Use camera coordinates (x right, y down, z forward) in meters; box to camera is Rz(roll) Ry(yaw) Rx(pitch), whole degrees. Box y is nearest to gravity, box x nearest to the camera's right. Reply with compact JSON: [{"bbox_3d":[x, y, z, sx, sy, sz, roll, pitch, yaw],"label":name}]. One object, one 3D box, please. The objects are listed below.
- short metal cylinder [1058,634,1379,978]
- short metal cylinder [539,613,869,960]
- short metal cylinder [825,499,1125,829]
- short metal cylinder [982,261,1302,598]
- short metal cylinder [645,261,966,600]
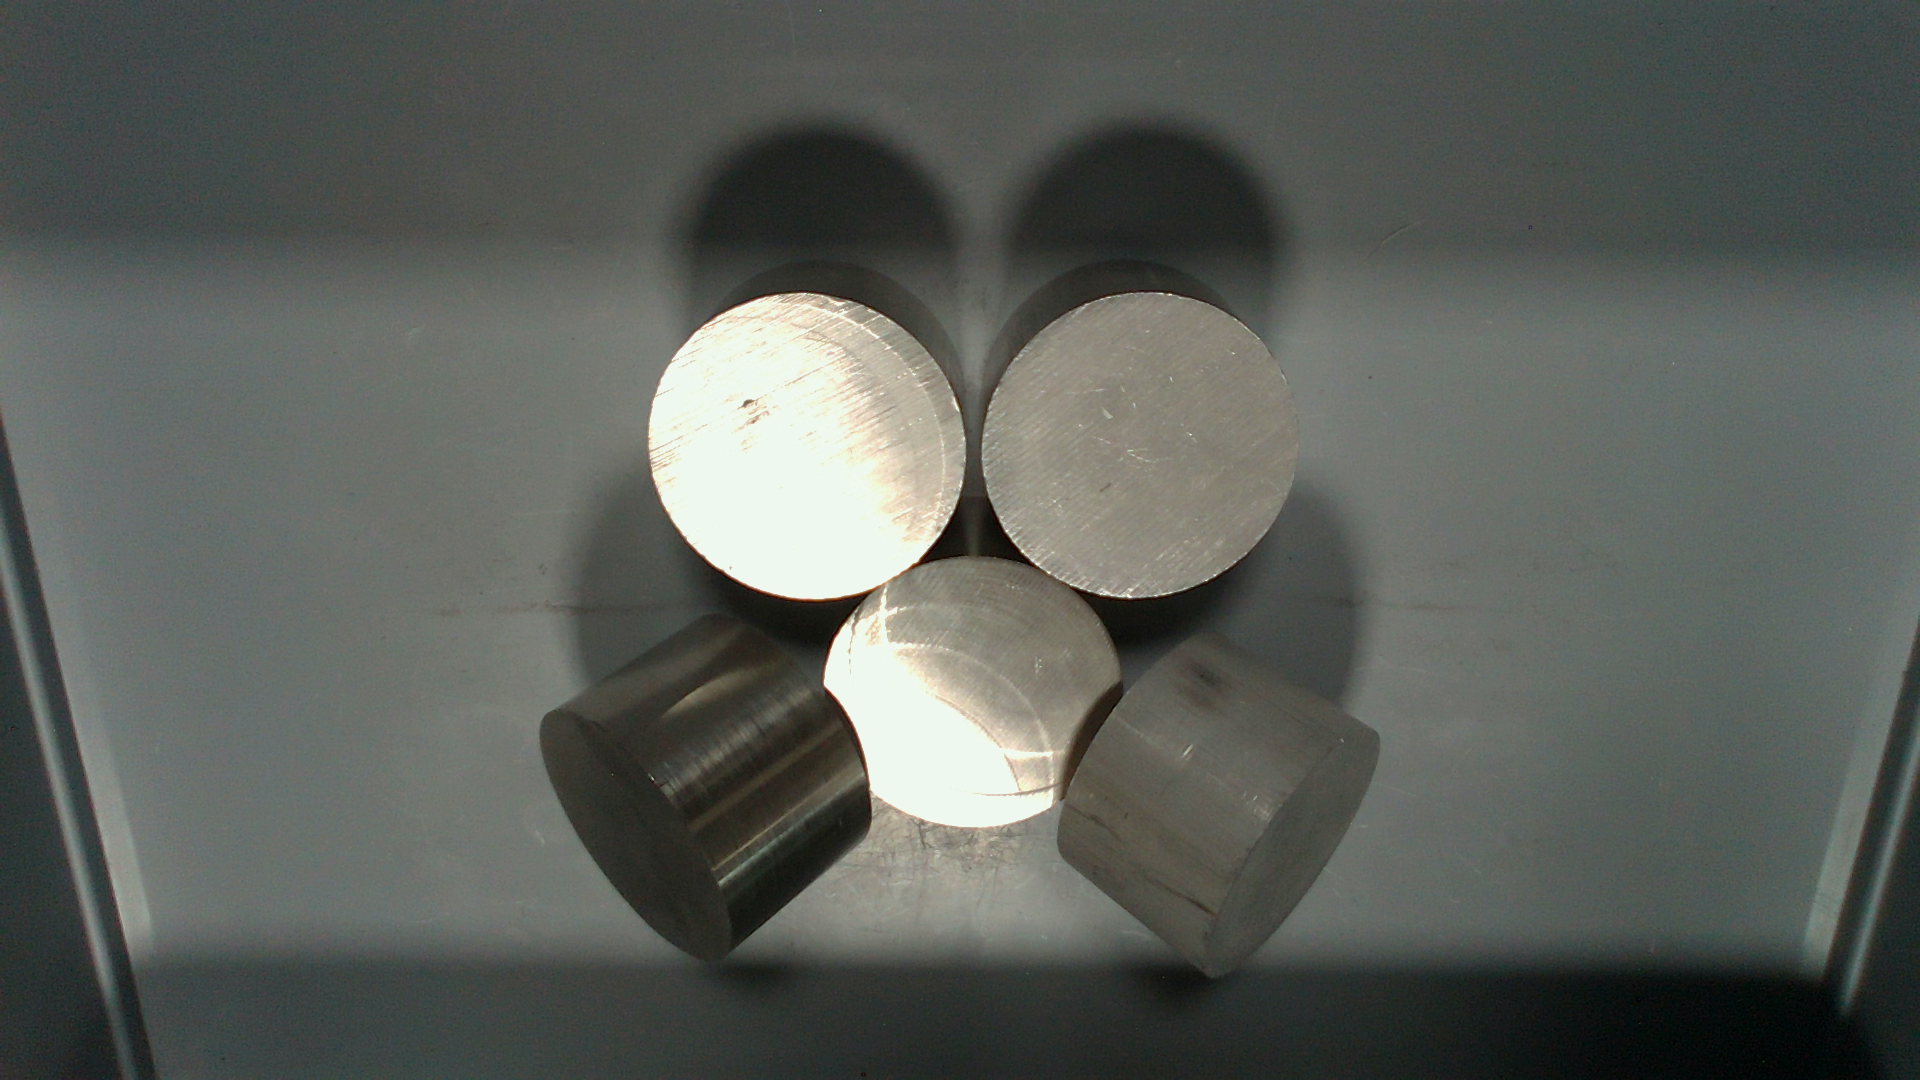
[{"bbox_3d":[0.073,0.073,0.384,0.050,0.080,0.080,33,112,30],"label":"short metal cylinder"},{"bbox_3d":[-0.071,0.068,0.382,0.050,0.080,0.080,-35,113,-35],"label":"short metal cylinder"},{"bbox_3d":[0.004,0.034,0.390,0.080,0.050,0.080,0,110,0],"label":"short metal cylinder"},{"bbox_3d":[0.046,-0.031,0.369,0.080,0.050,0.080,0,110,0],"label":"short metal cylinder"},{"bbox_3d":[-0.038,-0.031,0.367,0.080,0.050,0.080,0,110,0],"label":"short metal cylinder"}]
